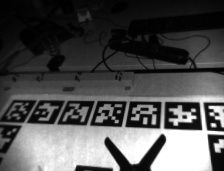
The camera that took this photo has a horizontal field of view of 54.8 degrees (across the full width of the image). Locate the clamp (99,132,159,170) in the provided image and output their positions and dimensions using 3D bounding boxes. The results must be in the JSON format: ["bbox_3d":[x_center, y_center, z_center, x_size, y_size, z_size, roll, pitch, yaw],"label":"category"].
[{"bbox_3d":[0.044,0.212,0.533,0.165,0.037,0.201,-7,46,7],"label":"clamp"}]

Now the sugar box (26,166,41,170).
[{"bbox_3d":[-0.196,0.283,0.499,0.093,0.046,0.174,-26,40,-11],"label":"sugar box"}]
